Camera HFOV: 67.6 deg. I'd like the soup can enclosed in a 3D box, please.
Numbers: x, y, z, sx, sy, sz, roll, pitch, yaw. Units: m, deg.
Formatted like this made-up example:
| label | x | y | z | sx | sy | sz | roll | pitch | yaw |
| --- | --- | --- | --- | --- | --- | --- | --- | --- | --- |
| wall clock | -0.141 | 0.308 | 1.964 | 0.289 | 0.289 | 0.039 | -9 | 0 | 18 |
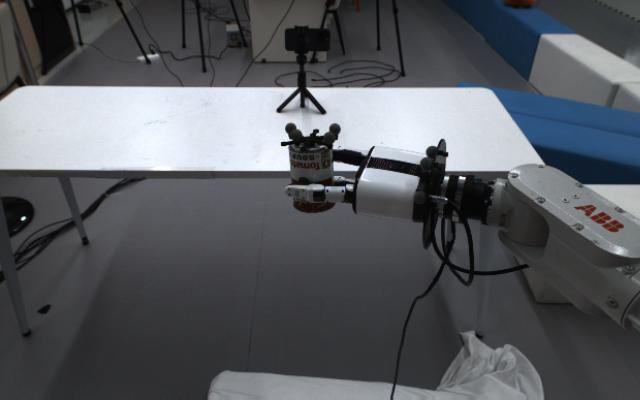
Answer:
| label | x | y | z | sx | sy | sz | roll | pitch | yaw |
| --- | --- | --- | --- | --- | --- | --- | --- | --- | --- |
| soup can | -0.011 | -0.040 | 0.745 | 0.067 | 0.101 | 0.067 | -3 | 26 | 2 |
